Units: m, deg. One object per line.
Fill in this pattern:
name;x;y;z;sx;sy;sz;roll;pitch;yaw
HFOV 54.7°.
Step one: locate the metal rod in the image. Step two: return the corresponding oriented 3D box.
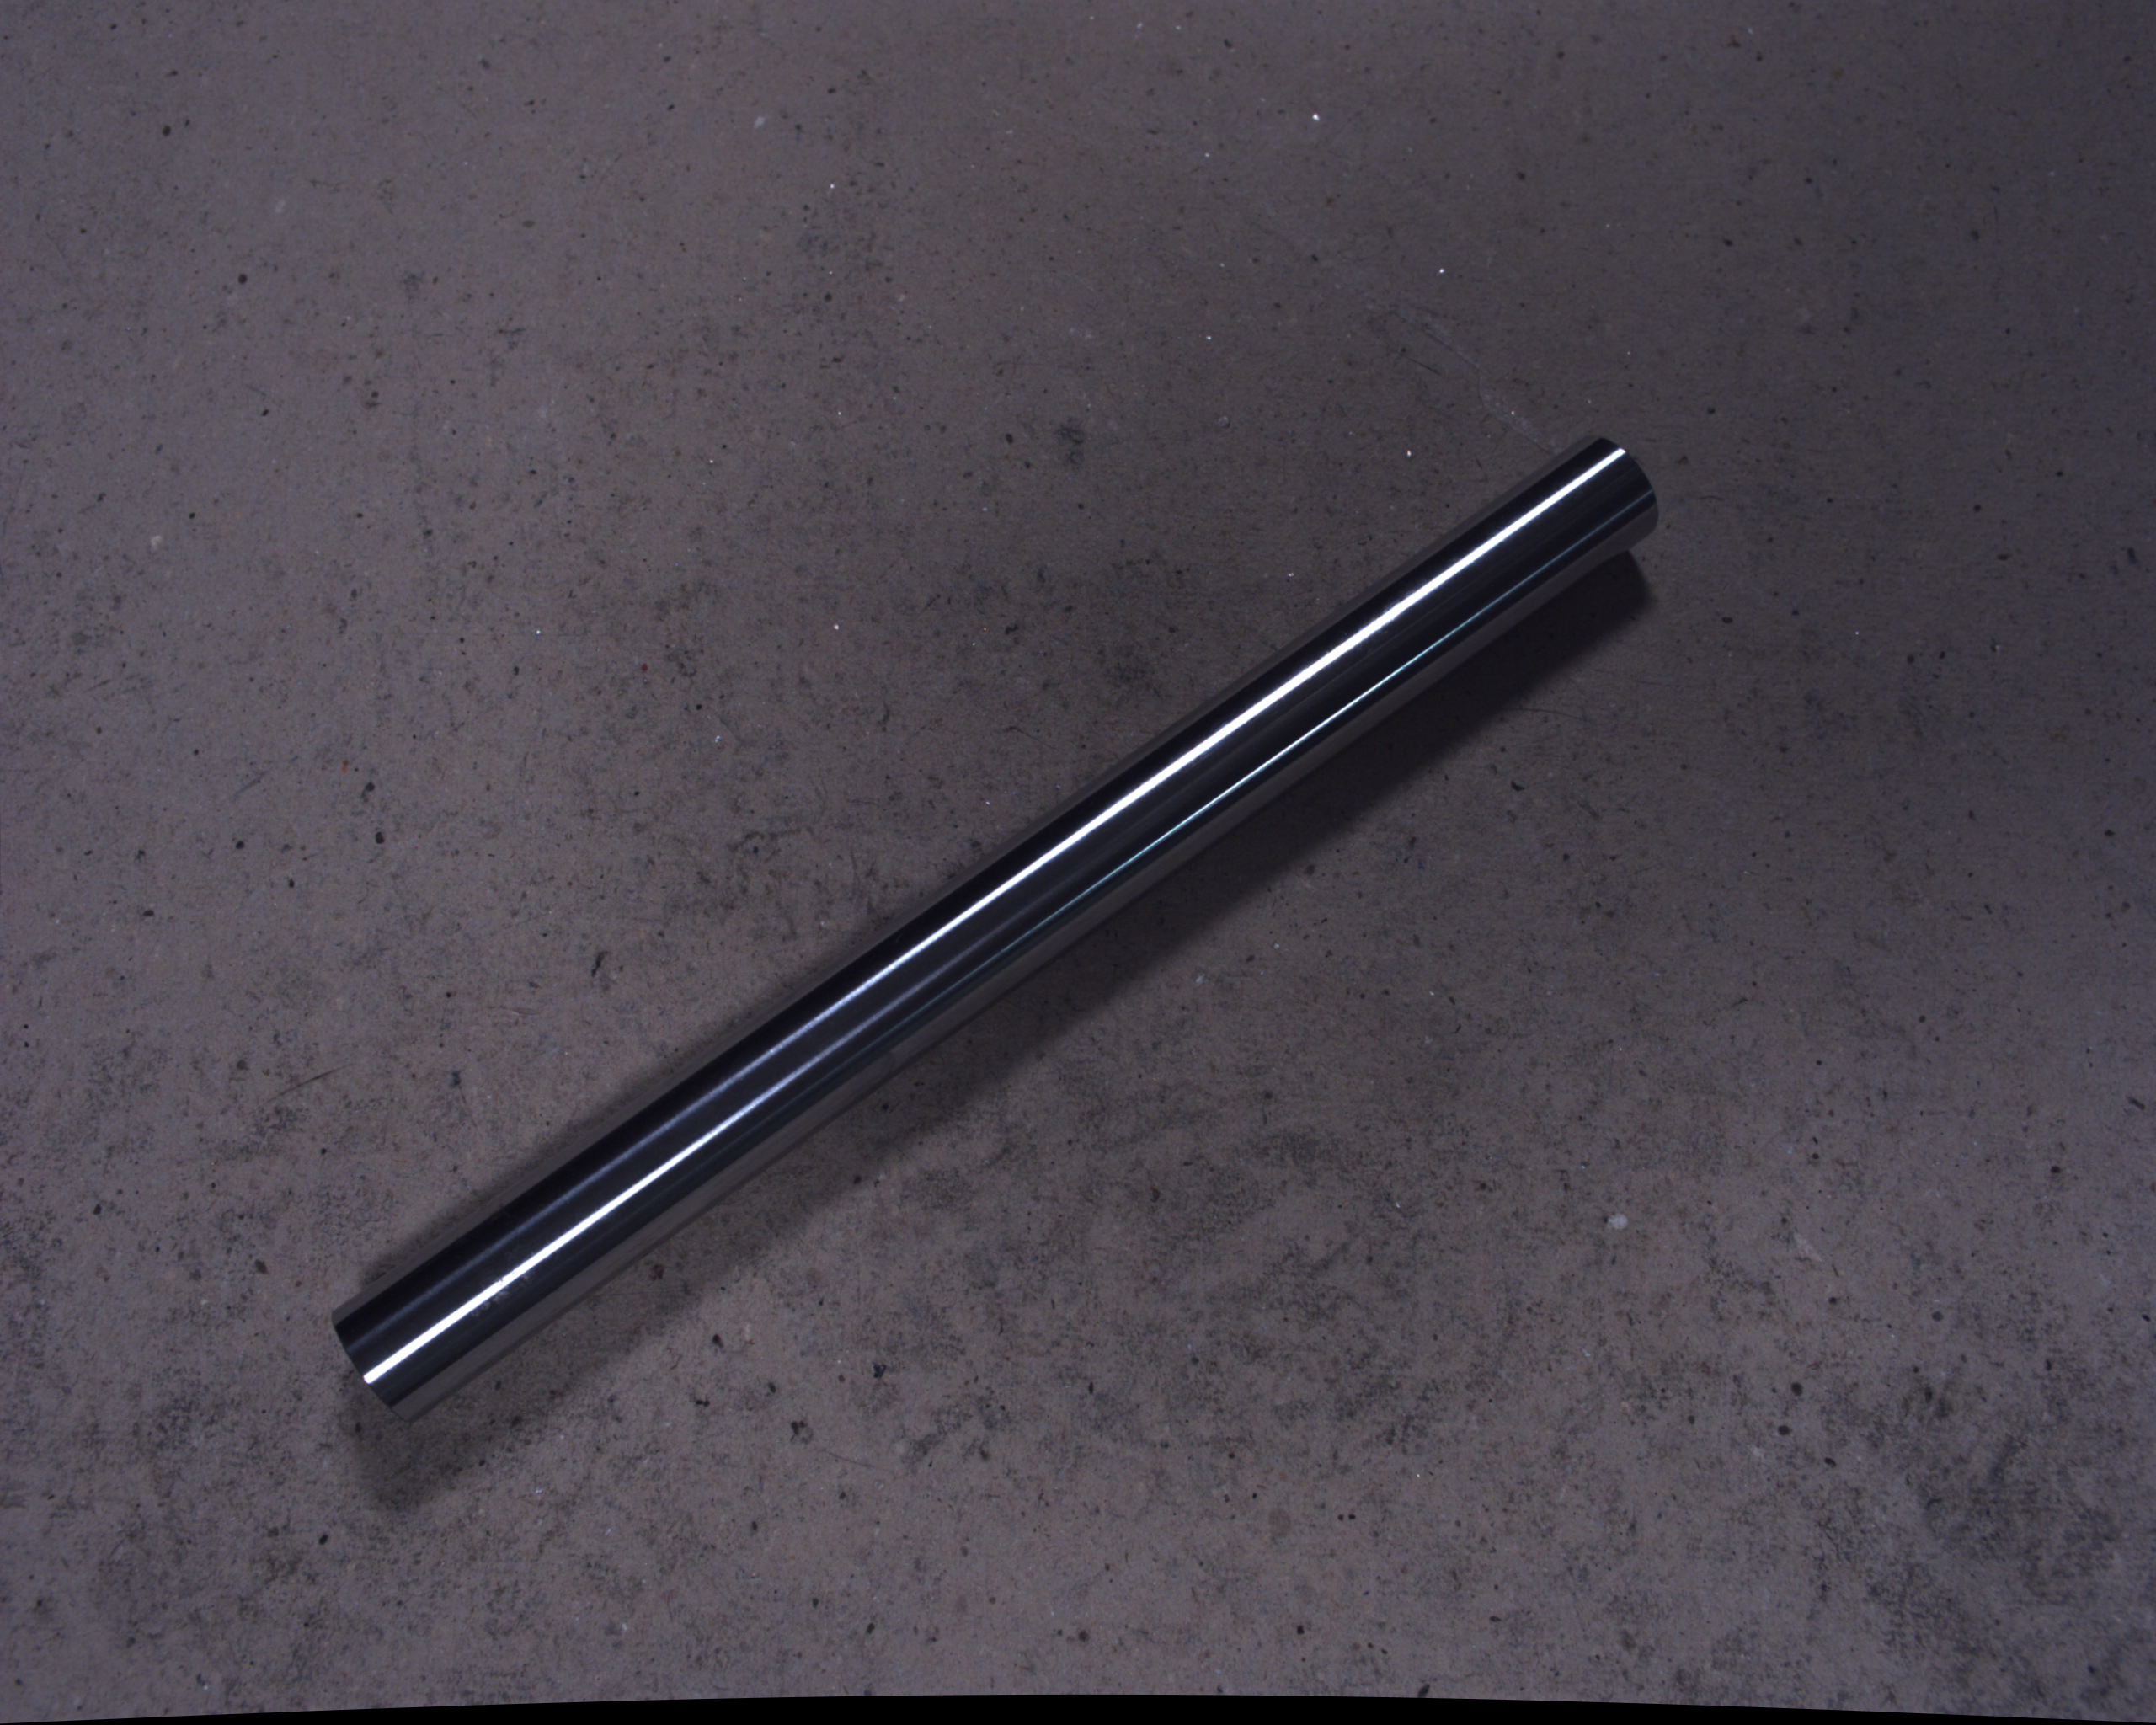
metal rod;-0.006;0.006;0.408;0.301;0.025;0.025;-35;74;-12
